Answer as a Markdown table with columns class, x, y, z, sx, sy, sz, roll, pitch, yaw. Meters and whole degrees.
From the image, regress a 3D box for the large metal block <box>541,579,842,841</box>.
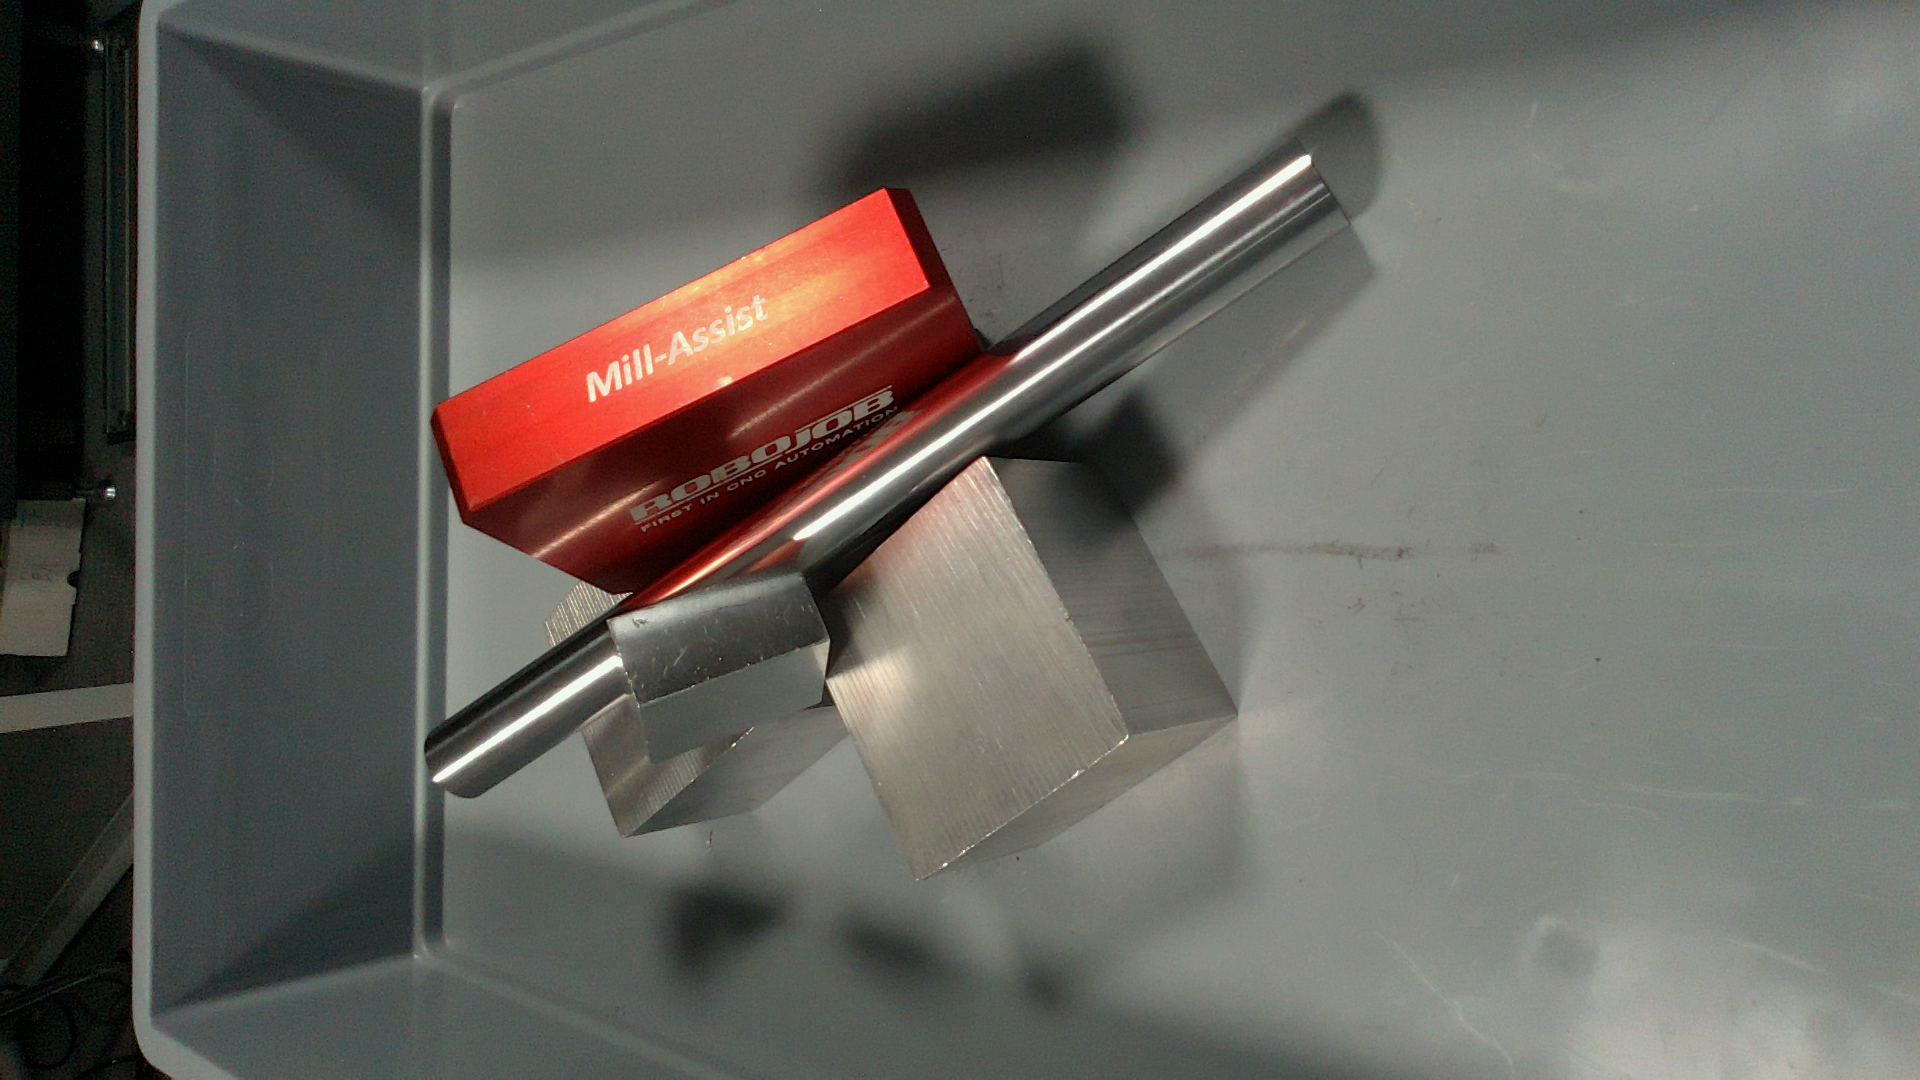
| class | x | y | z | sx | sy | sz | roll | pitch | yaw |
| --- | --- | --- | --- | --- | --- | --- | --- | --- | --- |
| large metal block | -0.081 | 0.039 | 0.443 | 0.080 | 0.050 | 0.080 | -41 | 65 | 32 |

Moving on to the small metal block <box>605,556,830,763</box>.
| class | x | y | z | sx | sy | sz | roll | pitch | yaw |
| --- | --- | --- | --- | --- | --- | --- | --- | --- | --- |
| small metal block | -0.064 | 0.033 | 0.367 | 0.050 | 0.050 | 0.025 | 108 | 140 | -64 |

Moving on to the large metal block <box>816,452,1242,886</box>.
| class | x | y | z | sx | sy | sz | roll | pitch | yaw |
| --- | --- | --- | --- | --- | --- | --- | --- | --- | --- |
| large metal block | 0.013 | 0.034 | 0.366 | 0.080 | 0.050 | 0.080 | -41 | 65 | 32 |

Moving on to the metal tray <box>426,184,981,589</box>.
| class | x | y | z | sx | sy | sz | roll | pitch | yaw |
| --- | --- | --- | --- | --- | --- | --- | --- | --- | --- |
| metal tray | -0.058 | -0.035 | 0.365 | 0.130 | 0.090 | 0.030 | -25 | 72 | 4 |

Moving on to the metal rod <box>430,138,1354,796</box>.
| class | x | y | z | sx | sy | sz | roll | pitch | yaw |
| --- | --- | --- | --- | --- | --- | --- | --- | --- | --- |
| metal rod | -0.033 | -0.008 | 0.373 | 0.299 | 0.025 | 0.025 | -32 | 69 | 19 |
